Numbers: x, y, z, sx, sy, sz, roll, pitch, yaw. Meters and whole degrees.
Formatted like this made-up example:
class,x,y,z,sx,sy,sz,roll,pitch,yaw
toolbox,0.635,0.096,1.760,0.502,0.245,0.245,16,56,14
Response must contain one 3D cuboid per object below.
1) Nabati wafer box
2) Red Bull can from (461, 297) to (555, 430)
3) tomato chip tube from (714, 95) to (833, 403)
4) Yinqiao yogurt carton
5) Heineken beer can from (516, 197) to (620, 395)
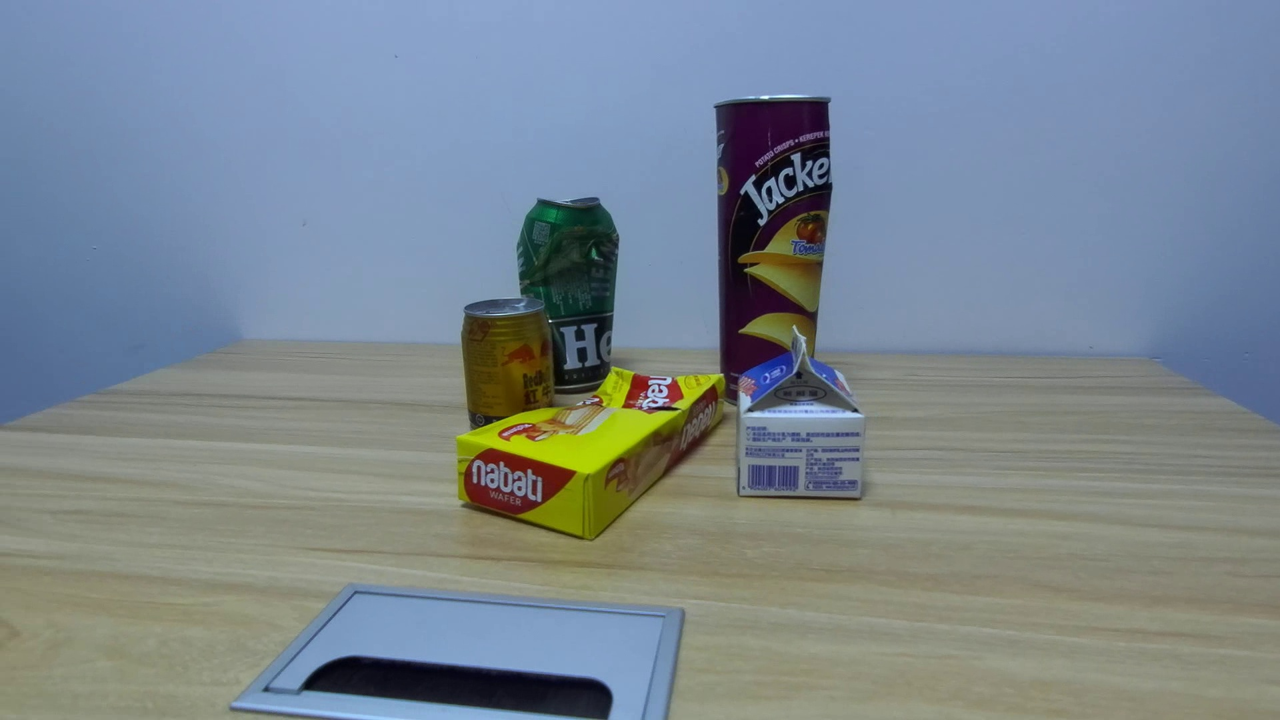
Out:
class,x,y,z,sx,sy,sz,roll,pitch,yaw
Nabati wafer box,-0.022,0.046,0.476,0.106,0.042,0.205,8,17,27
Red Bull can,-0.099,0.005,0.533,0.067,0.093,0.067,-1,16,1
tomato chip tube,0.104,-0.083,0.565,0.076,0.235,0.077,-3,14,-8
Yinqiao yogurt carton,0.097,0.028,0.435,0.073,0.092,0.075,0,14,8
Heineken beer can,-0.063,-0.056,0.612,0.077,0.164,0.066,6,19,14
